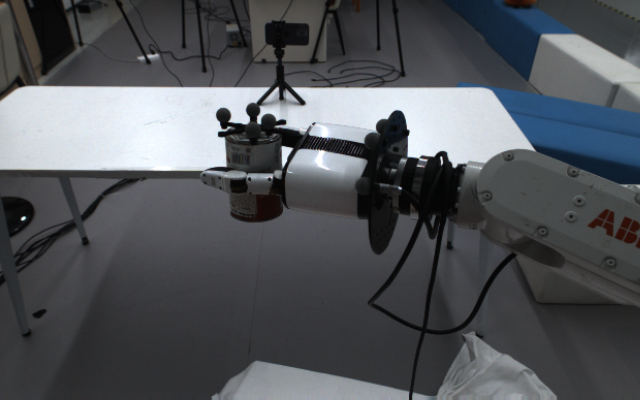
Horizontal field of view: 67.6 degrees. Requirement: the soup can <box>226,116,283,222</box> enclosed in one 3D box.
[{"bbox_3d":[-0.077,-0.032,0.585,0.067,0.101,0.067,1,25,0],"label":"soup can"}]
